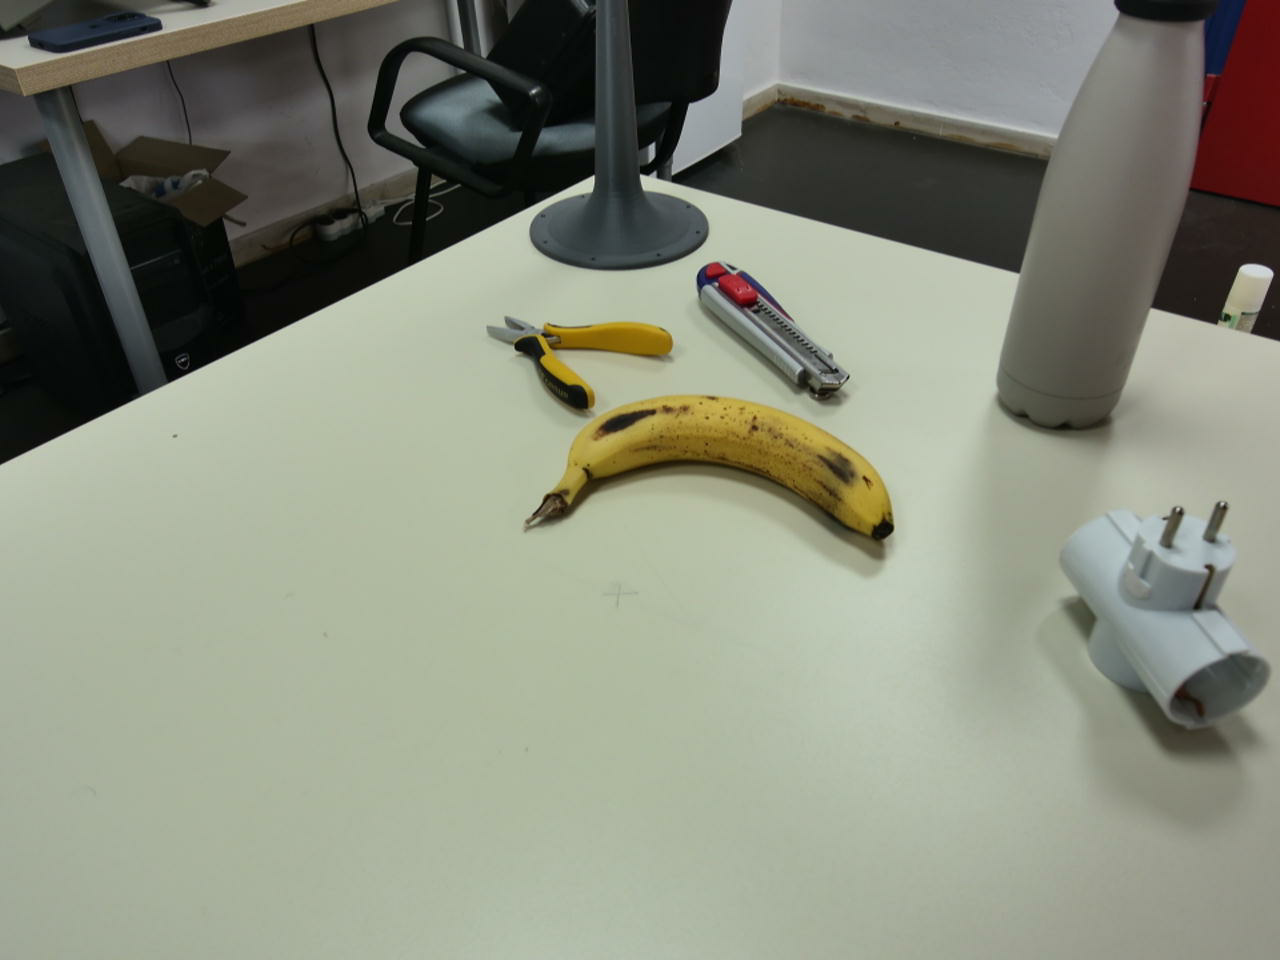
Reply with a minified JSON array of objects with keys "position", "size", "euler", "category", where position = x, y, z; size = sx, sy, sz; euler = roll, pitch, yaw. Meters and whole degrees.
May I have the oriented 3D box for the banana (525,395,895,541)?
[{"position":[0.042,-0.010,0.545],"size":[0.186,0.038,0.097],"euler":[5,37,9],"category":"banana"}]
